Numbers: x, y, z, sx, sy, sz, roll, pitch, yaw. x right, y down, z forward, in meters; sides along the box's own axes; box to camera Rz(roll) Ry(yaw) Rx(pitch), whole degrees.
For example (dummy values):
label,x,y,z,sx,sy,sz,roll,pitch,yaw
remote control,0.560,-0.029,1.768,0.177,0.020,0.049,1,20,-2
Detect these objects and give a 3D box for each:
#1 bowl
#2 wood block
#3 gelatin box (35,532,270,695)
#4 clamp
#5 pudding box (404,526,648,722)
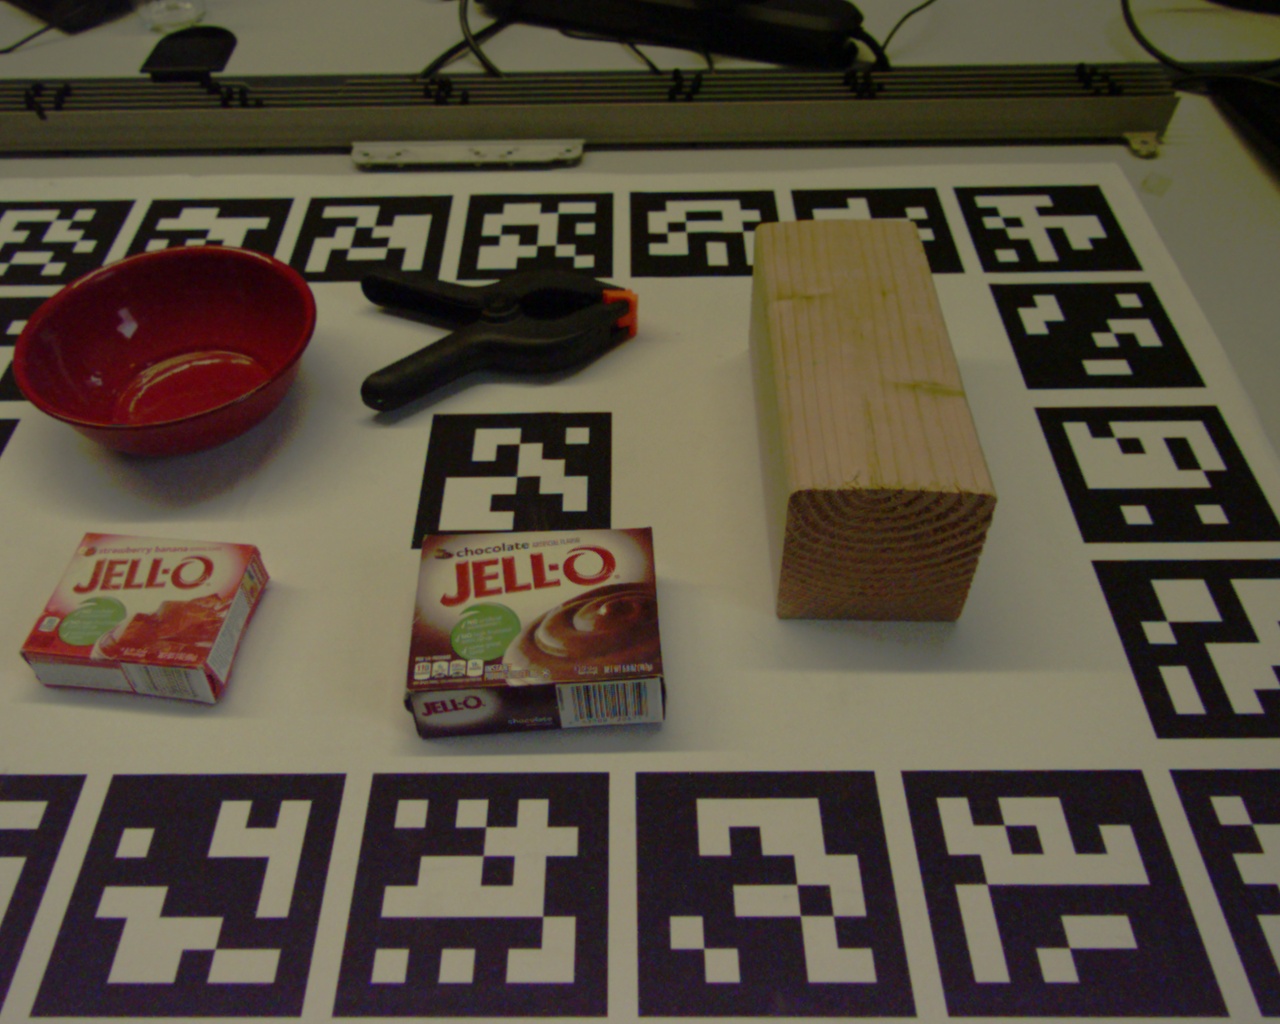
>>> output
label,x,y,z,sx,sy,sz,roll,pitch,yaw
bowl,-0.268,-0.082,0.679,0.161,0.055,0.162,0,51,0
wood block,0.103,-0.053,0.611,0.090,0.090,0.207,2,48,1
gelatin box,-0.240,0.049,0.567,0.089,0.030,0.073,5,50,6
clamp,-0.107,-0.108,0.713,0.164,0.036,0.123,-8,48,-8
pudding box,-0.054,0.054,0.555,0.114,0.038,0.090,-3,52,2
